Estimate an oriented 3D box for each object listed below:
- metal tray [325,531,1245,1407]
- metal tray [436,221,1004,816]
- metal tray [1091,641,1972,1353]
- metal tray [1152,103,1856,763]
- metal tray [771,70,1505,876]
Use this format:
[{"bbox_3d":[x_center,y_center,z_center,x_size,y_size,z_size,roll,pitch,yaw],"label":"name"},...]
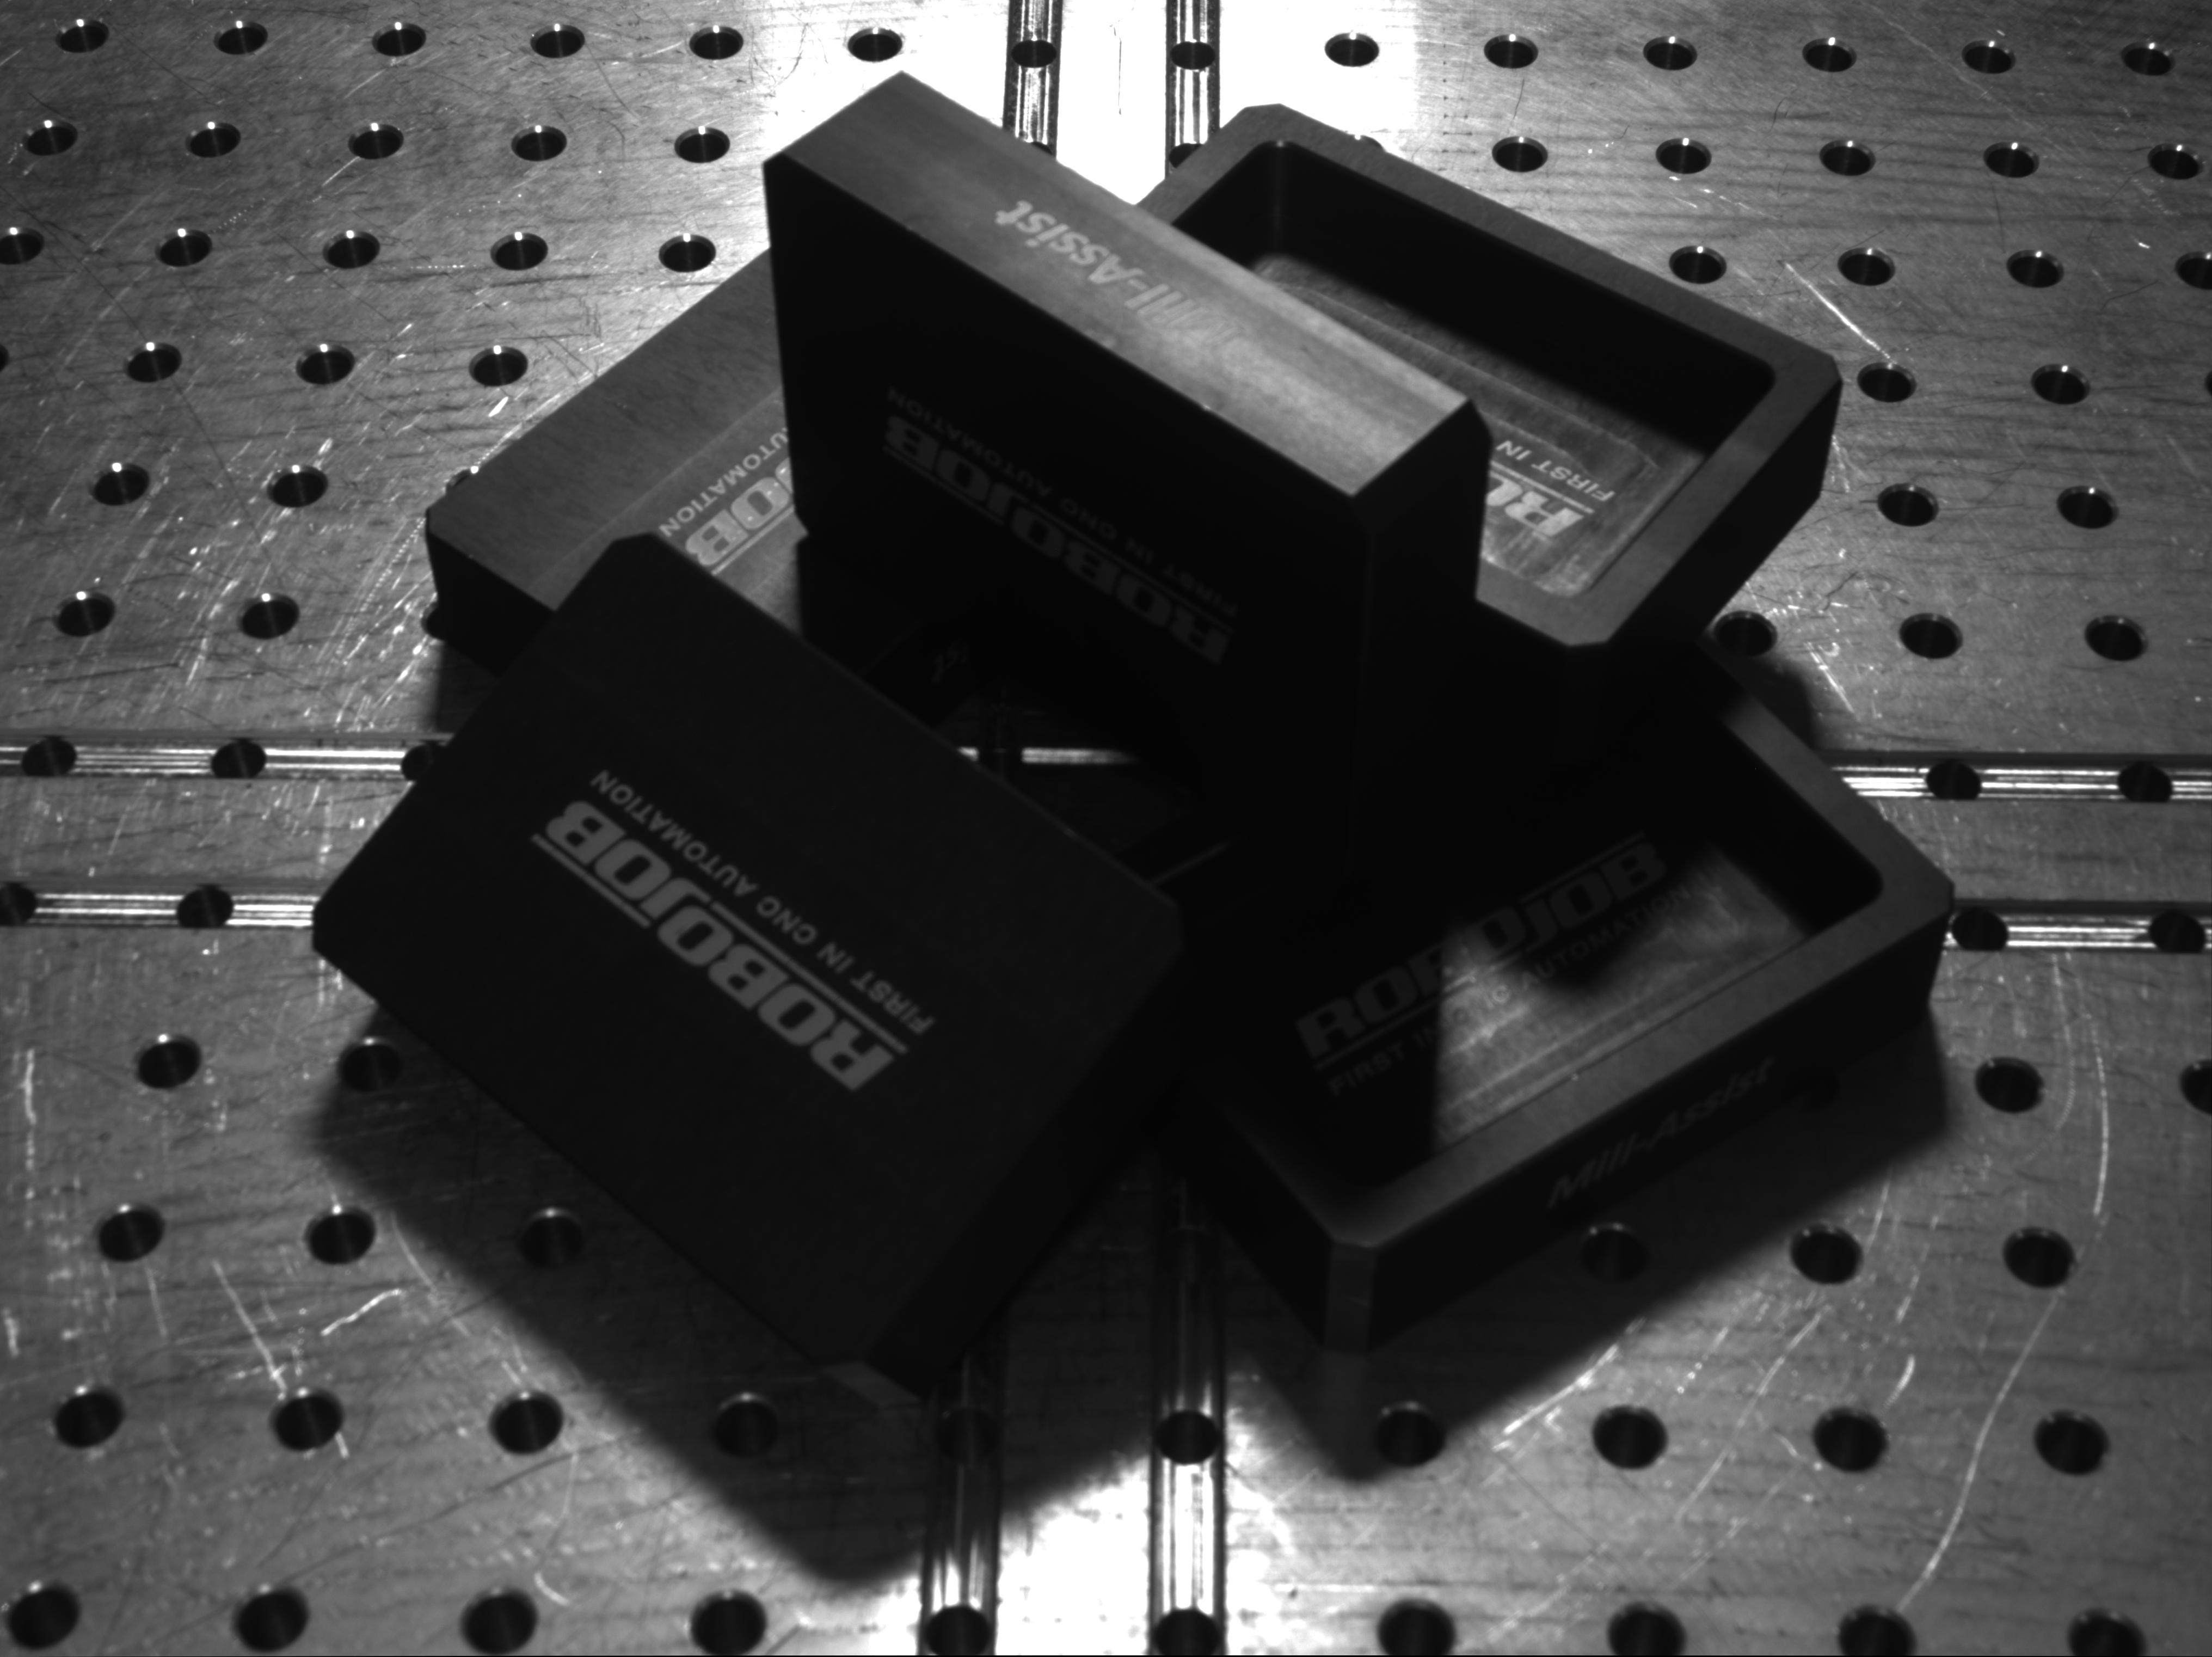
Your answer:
[{"bbox_3d":[-0.054,0.021,0.600,0.130,0.030,0.090,35,83,26],"label":"metal tray"},{"bbox_3d":[-0.050,-0.064,0.695,0.090,0.030,0.130,32,57,24],"label":"metal tray"},{"bbox_3d":[0.069,0.021,0.622,0.130,0.030,0.090,-27,55,-21],"label":"metal tray"},{"bbox_3d":[0.057,-0.075,0.666,0.130,0.030,0.090,29,56,22],"label":"metal tray"},{"bbox_3d":[0.003,-0.059,0.612,0.130,0.090,0.030,34,58,25],"label":"metal tray"}]
